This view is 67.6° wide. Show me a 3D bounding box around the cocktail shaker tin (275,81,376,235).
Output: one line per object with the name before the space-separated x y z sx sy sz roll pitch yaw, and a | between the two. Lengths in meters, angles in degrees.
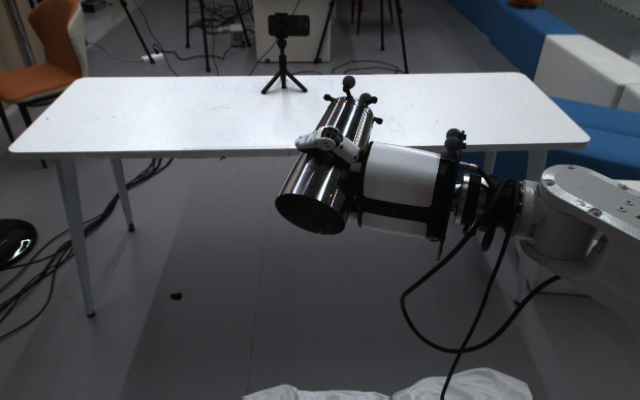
cocktail shaker tin | 0.014 -0.050 0.628 0.093 0.093 0.170 14 61 17
